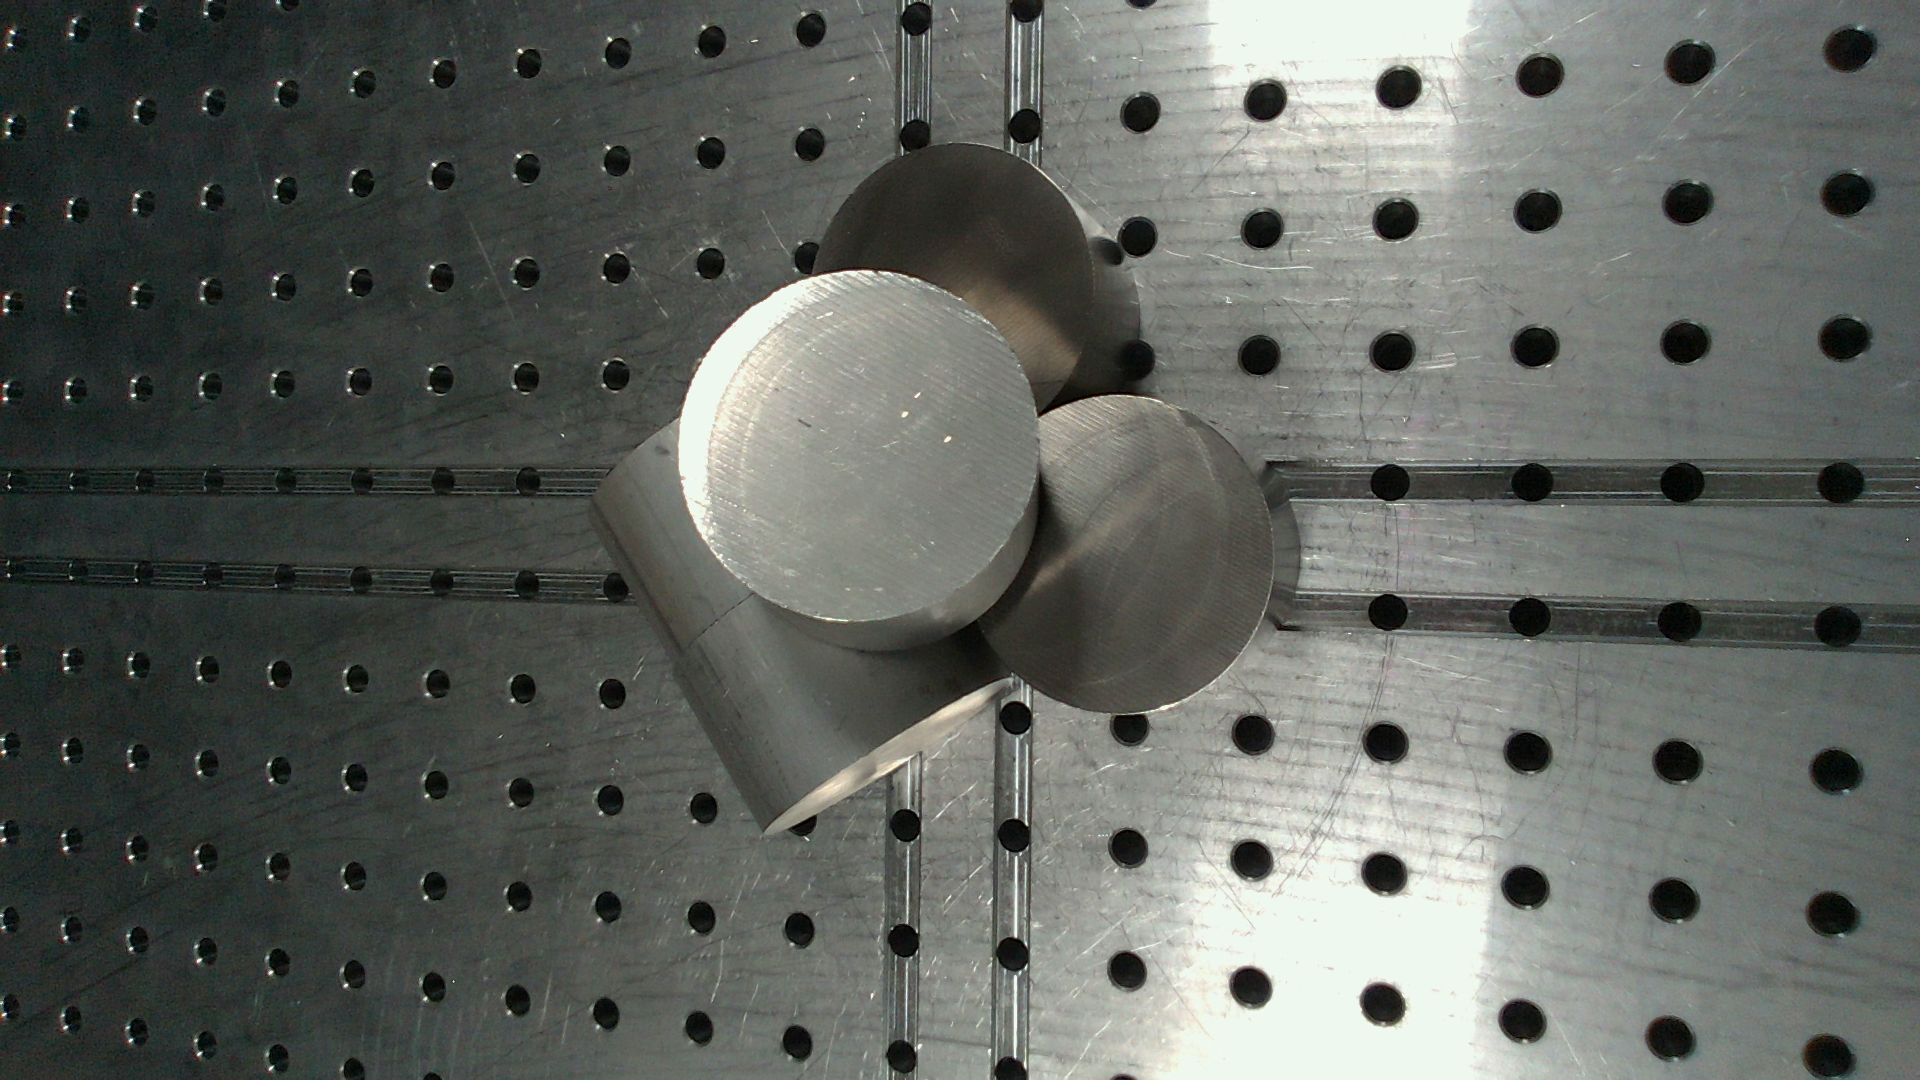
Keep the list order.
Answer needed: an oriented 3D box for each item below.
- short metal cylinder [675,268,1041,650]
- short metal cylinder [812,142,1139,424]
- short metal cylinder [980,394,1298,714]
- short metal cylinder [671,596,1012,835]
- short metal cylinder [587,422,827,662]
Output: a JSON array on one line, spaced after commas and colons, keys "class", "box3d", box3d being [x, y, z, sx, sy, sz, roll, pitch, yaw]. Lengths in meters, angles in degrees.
[{"class": "short metal cylinder", "box3d": [-0.021, -0.017, 0.324, 0.080, 0.050, 0.080, 0, 78, 2]}, {"class": "short metal cylinder", "box3d": [0.005, -0.064, 0.382, 0.080, 0.050, 0.080, 0, 90, 20]}, {"class": "short metal cylinder", "box3d": [0.047, 0.003, 0.367, 0.080, 0.050, 0.080, 0, 90, 20]}, {"class": "short metal cylinder", "box3d": [-0.032, 0.039, 0.380, 0.080, 0.080, 0.050, -36, 79, 17]}, {"class": "short metal cylinder", "box3d": [-0.057, -0.004, 0.390, 0.080, 0.080, 0.050, -36, 78, 17]}]
